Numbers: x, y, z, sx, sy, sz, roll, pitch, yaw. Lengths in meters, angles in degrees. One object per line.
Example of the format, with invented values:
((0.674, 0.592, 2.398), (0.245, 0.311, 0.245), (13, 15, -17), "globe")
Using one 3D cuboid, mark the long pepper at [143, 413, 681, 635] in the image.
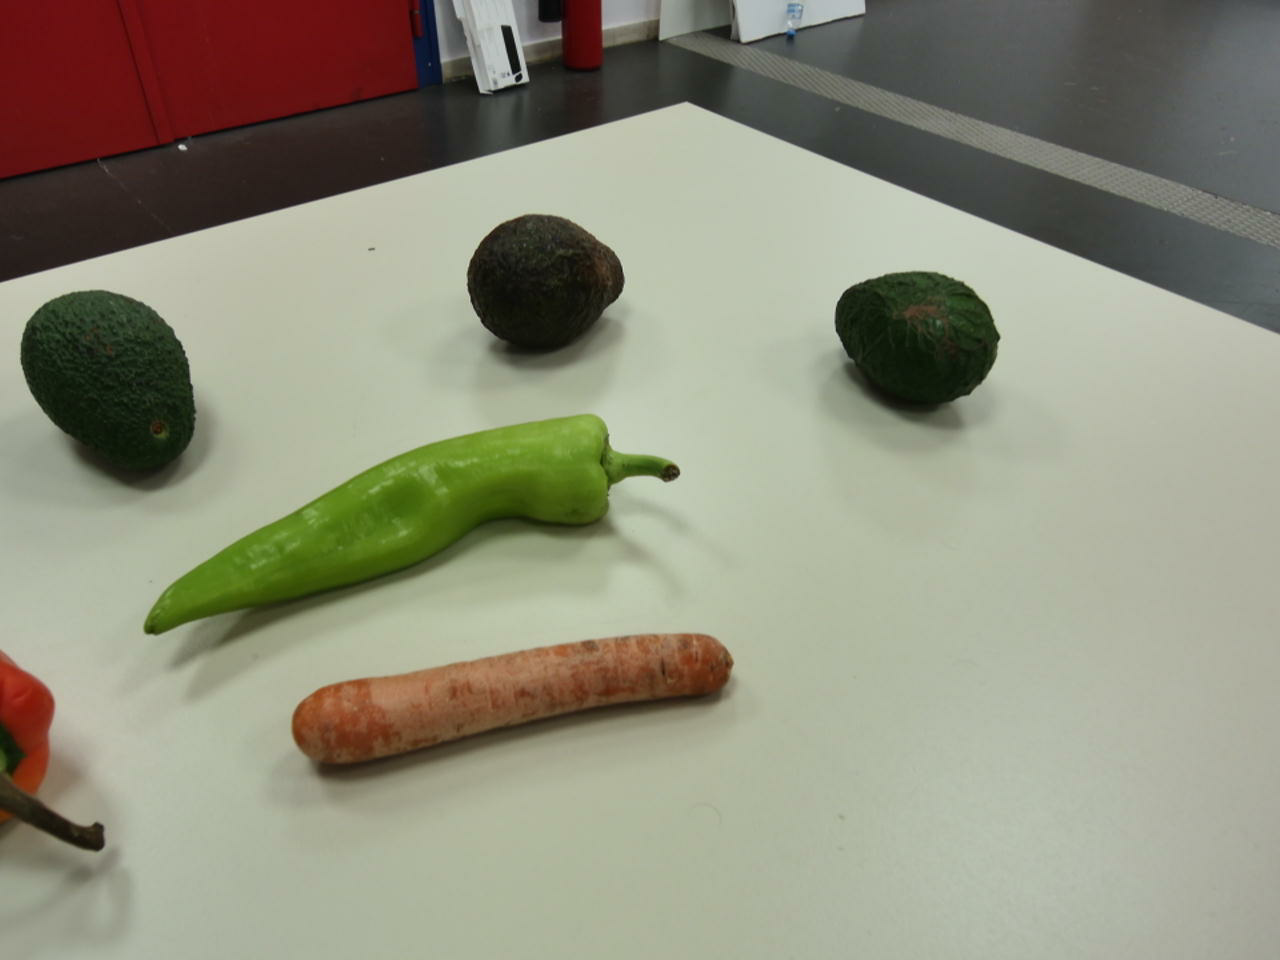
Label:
((-0.088, 0.012, 0.399), (0.204, 0.045, 0.065), (-14, 39, -19), "long pepper")
